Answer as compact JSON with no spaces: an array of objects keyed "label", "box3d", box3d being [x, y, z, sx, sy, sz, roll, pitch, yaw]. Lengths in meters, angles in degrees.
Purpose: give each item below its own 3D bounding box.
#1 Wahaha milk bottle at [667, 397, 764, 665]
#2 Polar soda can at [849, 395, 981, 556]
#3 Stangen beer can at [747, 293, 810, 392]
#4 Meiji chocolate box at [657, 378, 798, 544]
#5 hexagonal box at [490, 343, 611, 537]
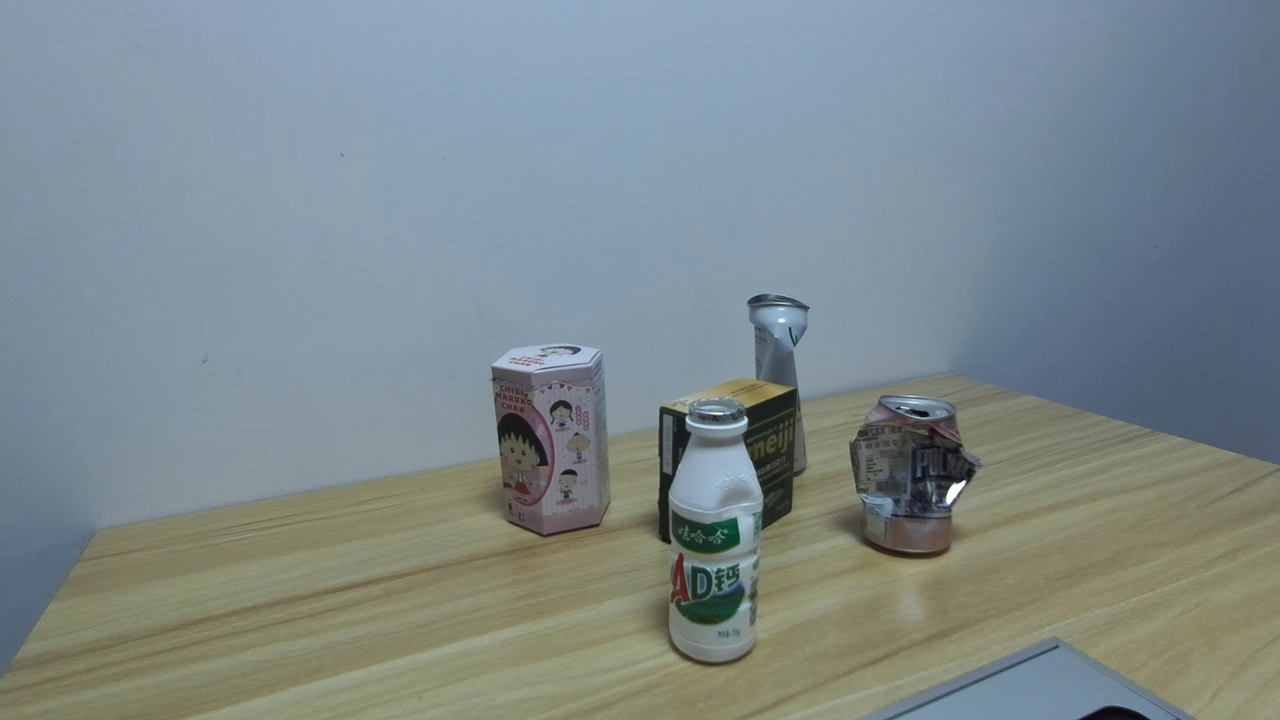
[{"label":"Wahaha milk bottle","box3d":[0.044,0.101,0.403,0.053,0.136,0.053,0,13,0]},{"label":"Polar soda can","box3d":[0.201,0.084,0.519,0.074,0.114,0.070,-11,21,-33]},{"label":"Stangen beer can","box3d":[0.126,0.024,0.651,0.066,0.162,0.076,-14,20,-38]},{"label":"Meiji chocolate box","box3d":[0.069,0.080,0.547,0.056,0.109,0.110,12,20,42]},{"label":"hexagonal box","box3d":[-0.070,0.063,0.575,0.091,0.136,0.084,9,18,37]}]
